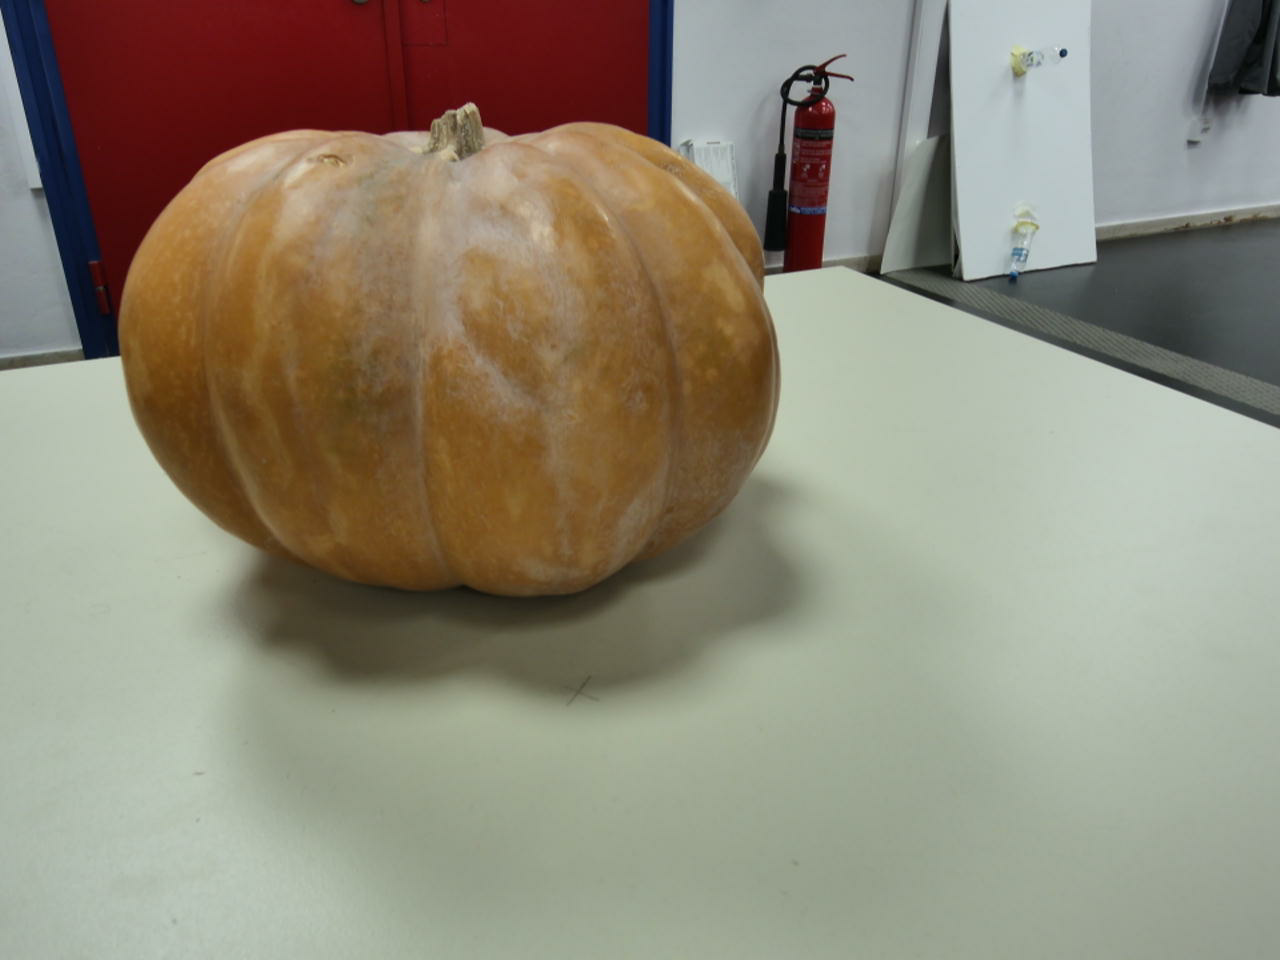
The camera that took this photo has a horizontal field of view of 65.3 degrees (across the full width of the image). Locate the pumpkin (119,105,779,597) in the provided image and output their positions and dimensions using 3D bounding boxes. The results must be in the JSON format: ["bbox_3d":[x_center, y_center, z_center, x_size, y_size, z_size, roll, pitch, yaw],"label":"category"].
[{"bbox_3d":[-0.070,-0.060,0.419,0.277,0.181,0.277,0,25,0],"label":"pumpkin"}]
